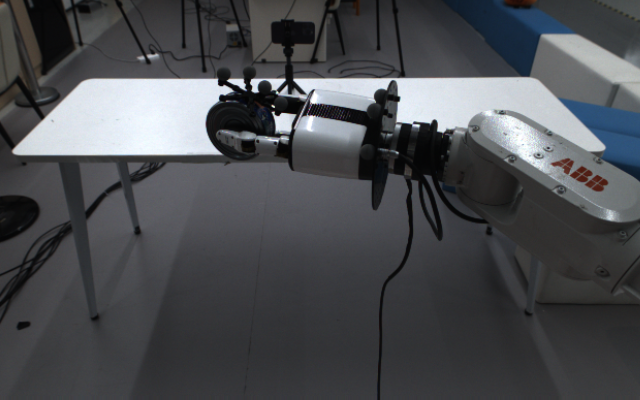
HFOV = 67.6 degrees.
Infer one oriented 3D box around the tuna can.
[{"bbox_3d":[-0.100,-0.089,0.627,0.085,0.085,0.034,12,35,14],"label":"tuna can"}]
